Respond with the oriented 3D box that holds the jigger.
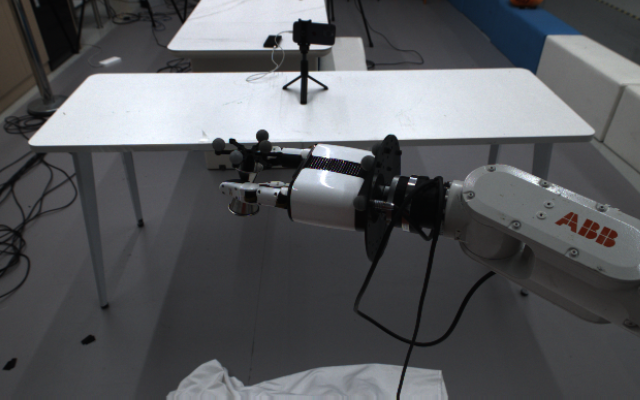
[{"bbox_3d":[-0.100,-0.017,0.657,0.043,0.071,0.043,9,30,-5],"label":"jigger"}]
